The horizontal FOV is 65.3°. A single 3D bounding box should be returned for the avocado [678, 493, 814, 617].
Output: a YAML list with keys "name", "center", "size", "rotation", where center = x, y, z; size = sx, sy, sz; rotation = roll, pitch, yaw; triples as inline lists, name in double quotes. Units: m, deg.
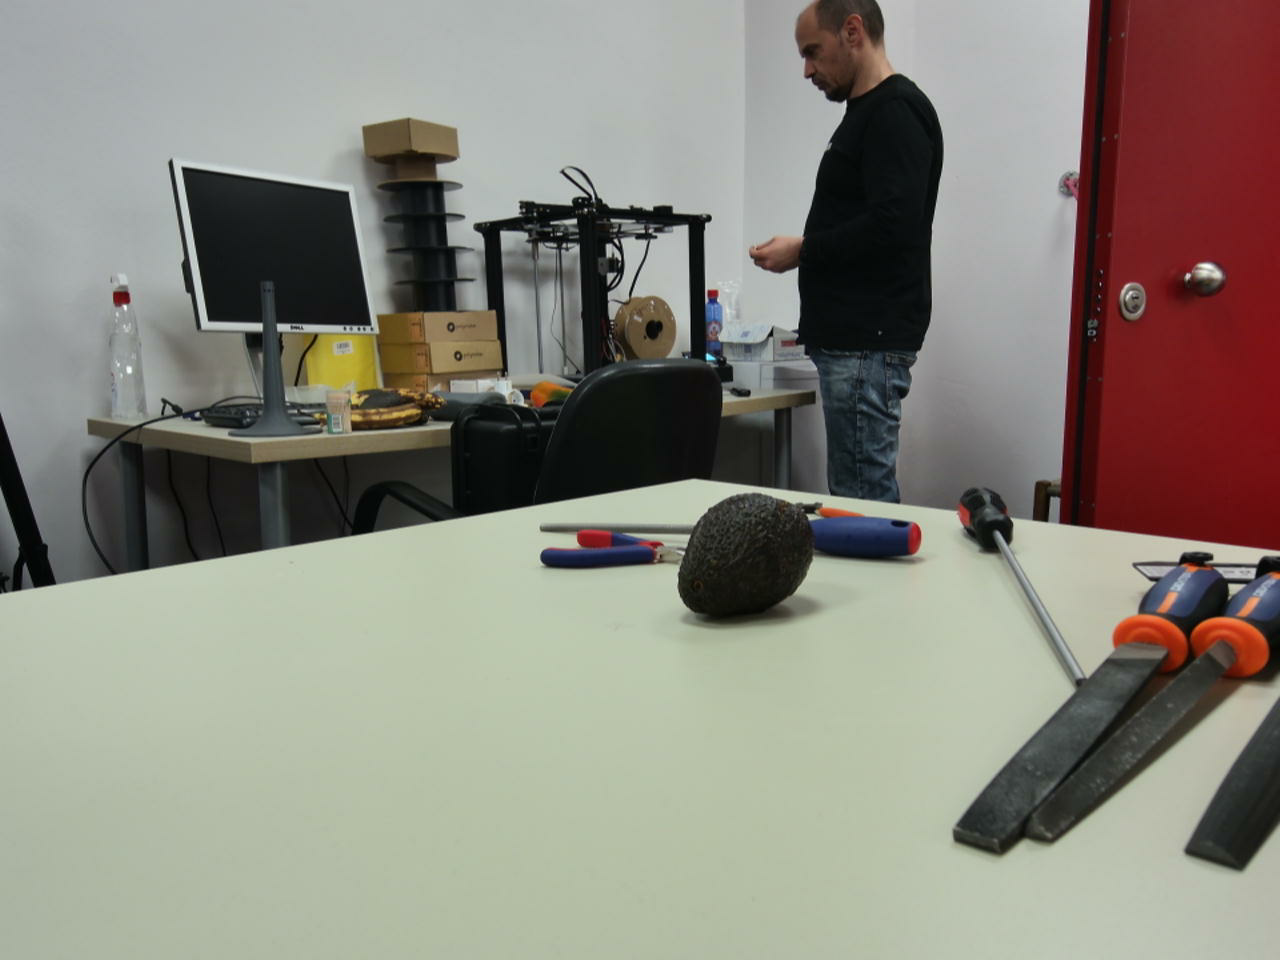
- name: "avocado"
  center: [0.061, 0.043, 0.599]
  size: [0.090, 0.069, 0.070]
  rotation: [-3, 7, -18]
